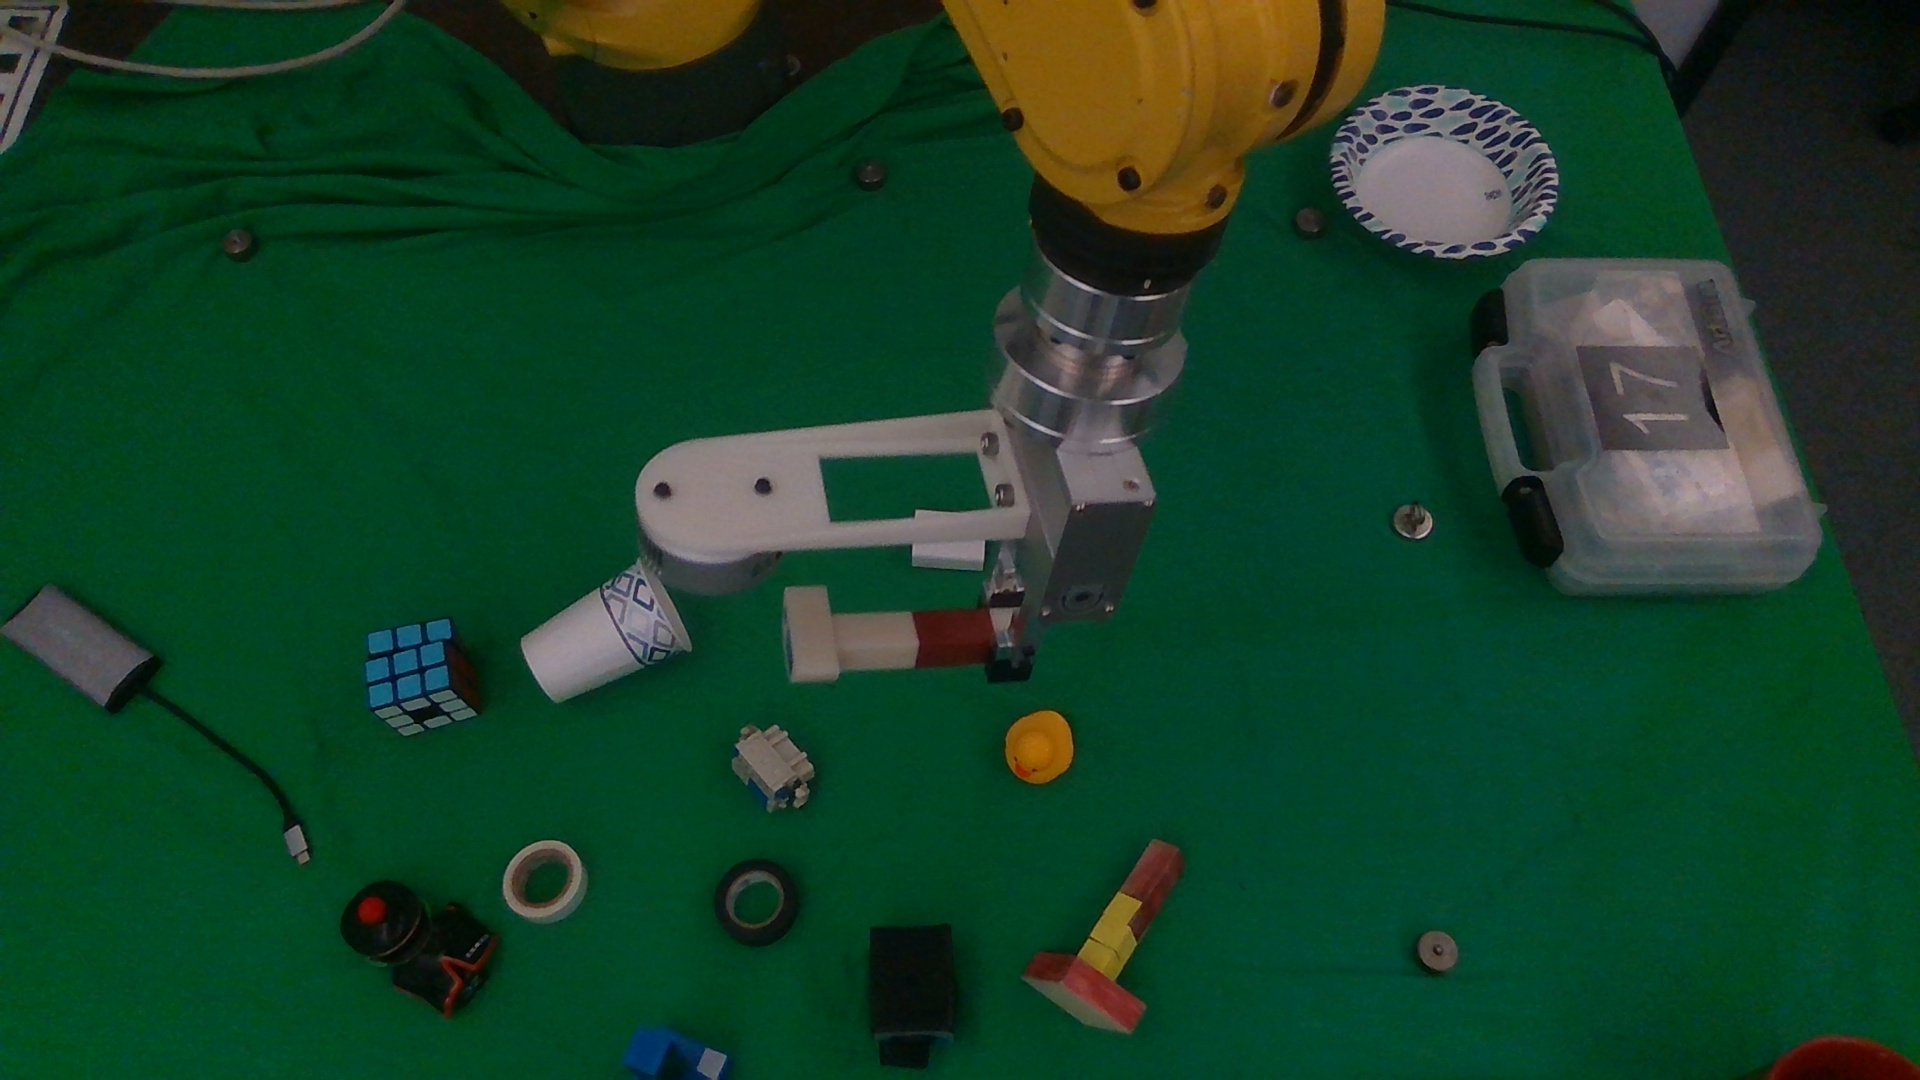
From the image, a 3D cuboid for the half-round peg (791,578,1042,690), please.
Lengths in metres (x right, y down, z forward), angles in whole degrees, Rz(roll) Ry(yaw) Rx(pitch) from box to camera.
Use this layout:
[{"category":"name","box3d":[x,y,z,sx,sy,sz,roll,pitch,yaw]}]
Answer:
[{"category":"half-round peg","box3d":[-0.017,0.044,0.650,0.122,0.031,0.054,-2,50,-14]}]

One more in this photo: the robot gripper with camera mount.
[{"category":"robot gripper with camera mount","box3d":[-0.036,0.008,0.593,0.193,0.158,0.119,-6,50,-13]}]
